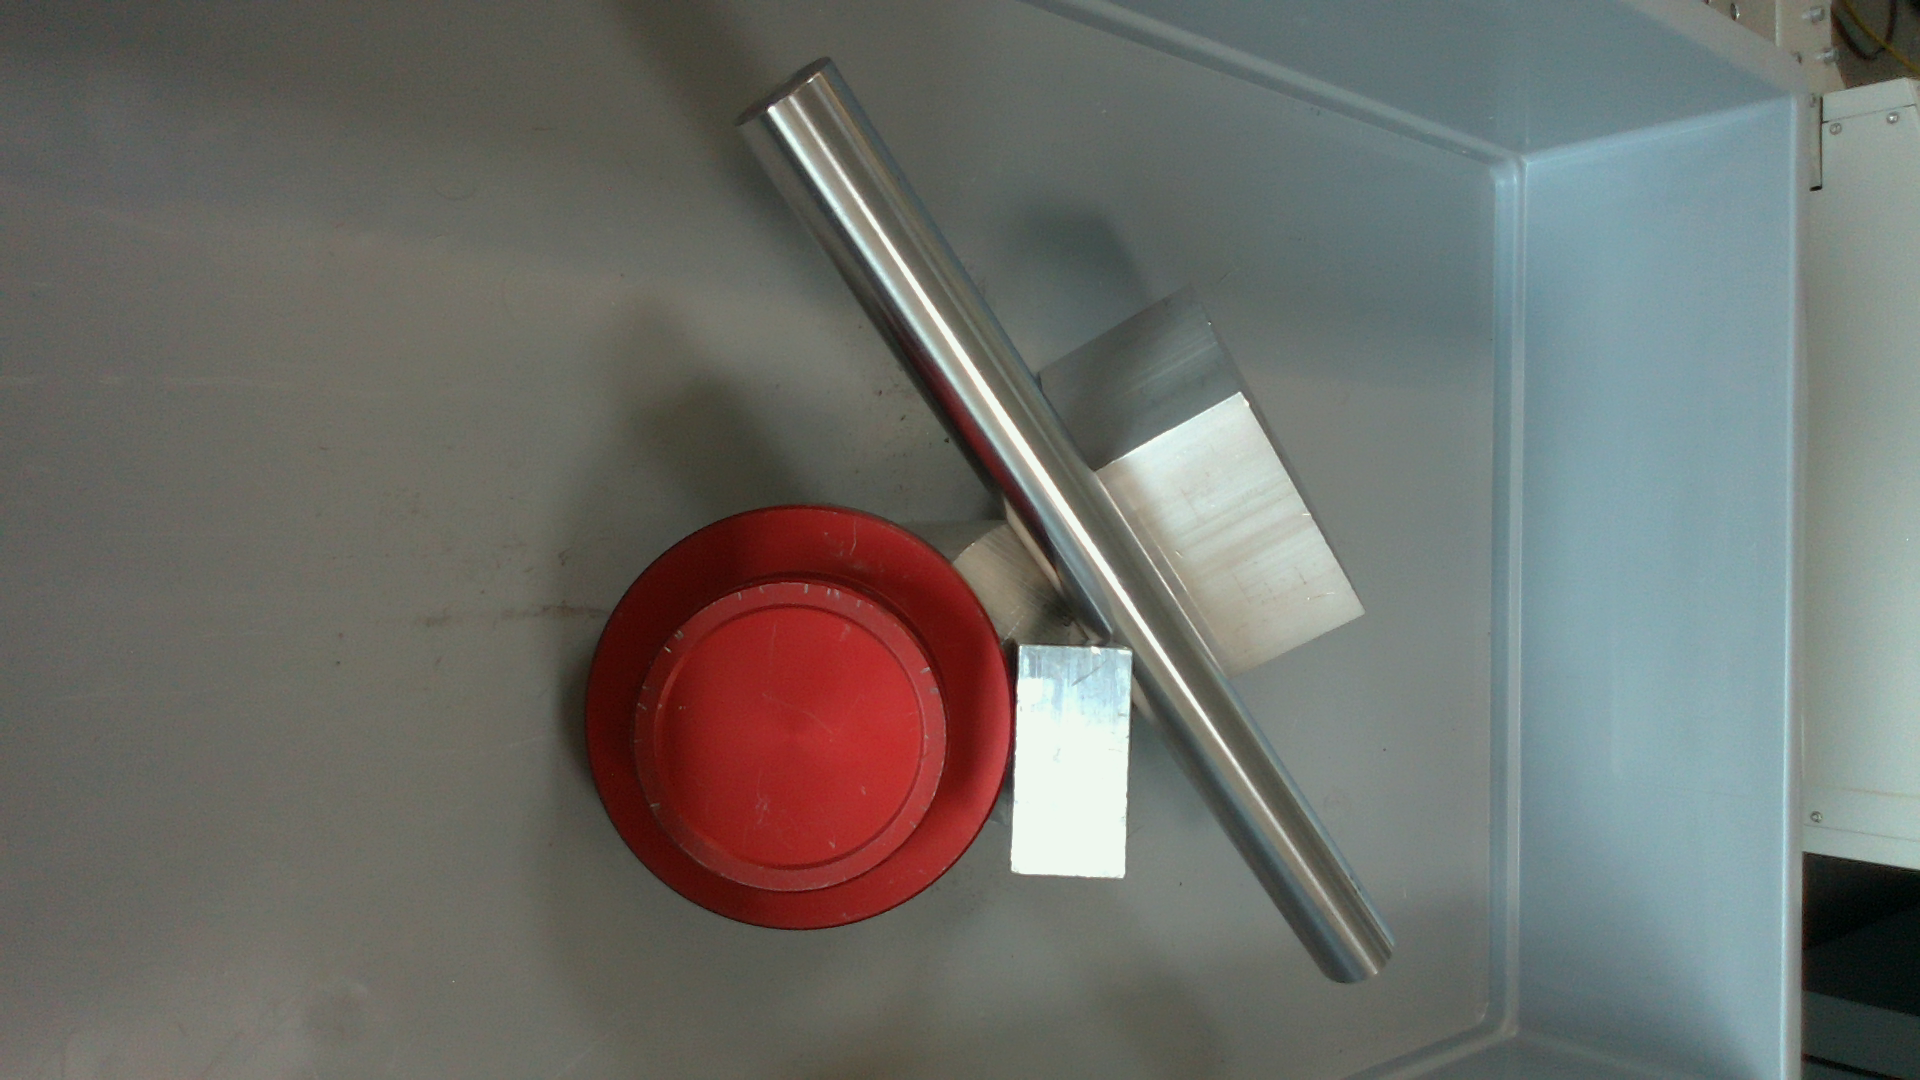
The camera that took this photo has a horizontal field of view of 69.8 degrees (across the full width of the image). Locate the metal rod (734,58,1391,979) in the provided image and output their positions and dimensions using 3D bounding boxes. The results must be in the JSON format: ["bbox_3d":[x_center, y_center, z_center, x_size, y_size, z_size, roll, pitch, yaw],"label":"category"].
[{"bbox_3d":[0.041,0.015,0.357,0.025,0.025,0.301,-51,120,-28],"label":"metal rod"}]

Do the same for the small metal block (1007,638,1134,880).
[{"bbox_3d":[0.025,0.049,0.324,0.025,0.050,0.050,2,88,1],"label":"small metal block"}]

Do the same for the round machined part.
[{"bbox_3d":[-0.037,0.041,0.312,0.098,0.042,0.098,0,93,-2],"label":"round machined part"}]

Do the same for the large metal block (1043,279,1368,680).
[{"bbox_3d":[0.068,-0.017,0.400,0.080,0.050,0.080,54,16,-26],"label":"large metal block"}]

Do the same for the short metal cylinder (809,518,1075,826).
[{"bbox_3d":[0.004,0.034,0.374,0.080,0.050,0.080,0,90,-40],"label":"short metal cylinder"}]
